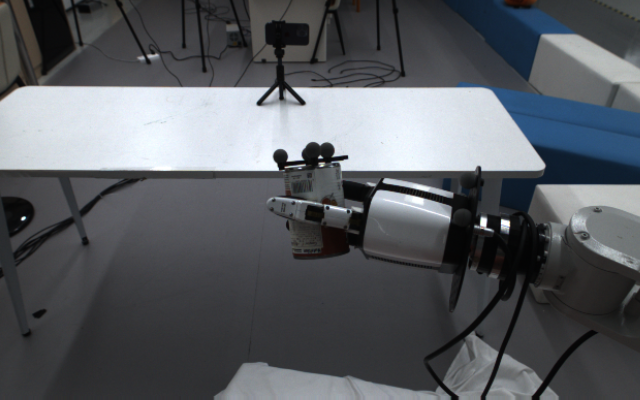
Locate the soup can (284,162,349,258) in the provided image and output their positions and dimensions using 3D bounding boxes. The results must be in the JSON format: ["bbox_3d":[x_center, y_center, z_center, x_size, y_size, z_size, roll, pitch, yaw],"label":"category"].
[{"bbox_3d":[-0.002,0.012,0.553,0.067,0.101,0.067,-7,3,0],"label":"soup can"}]
